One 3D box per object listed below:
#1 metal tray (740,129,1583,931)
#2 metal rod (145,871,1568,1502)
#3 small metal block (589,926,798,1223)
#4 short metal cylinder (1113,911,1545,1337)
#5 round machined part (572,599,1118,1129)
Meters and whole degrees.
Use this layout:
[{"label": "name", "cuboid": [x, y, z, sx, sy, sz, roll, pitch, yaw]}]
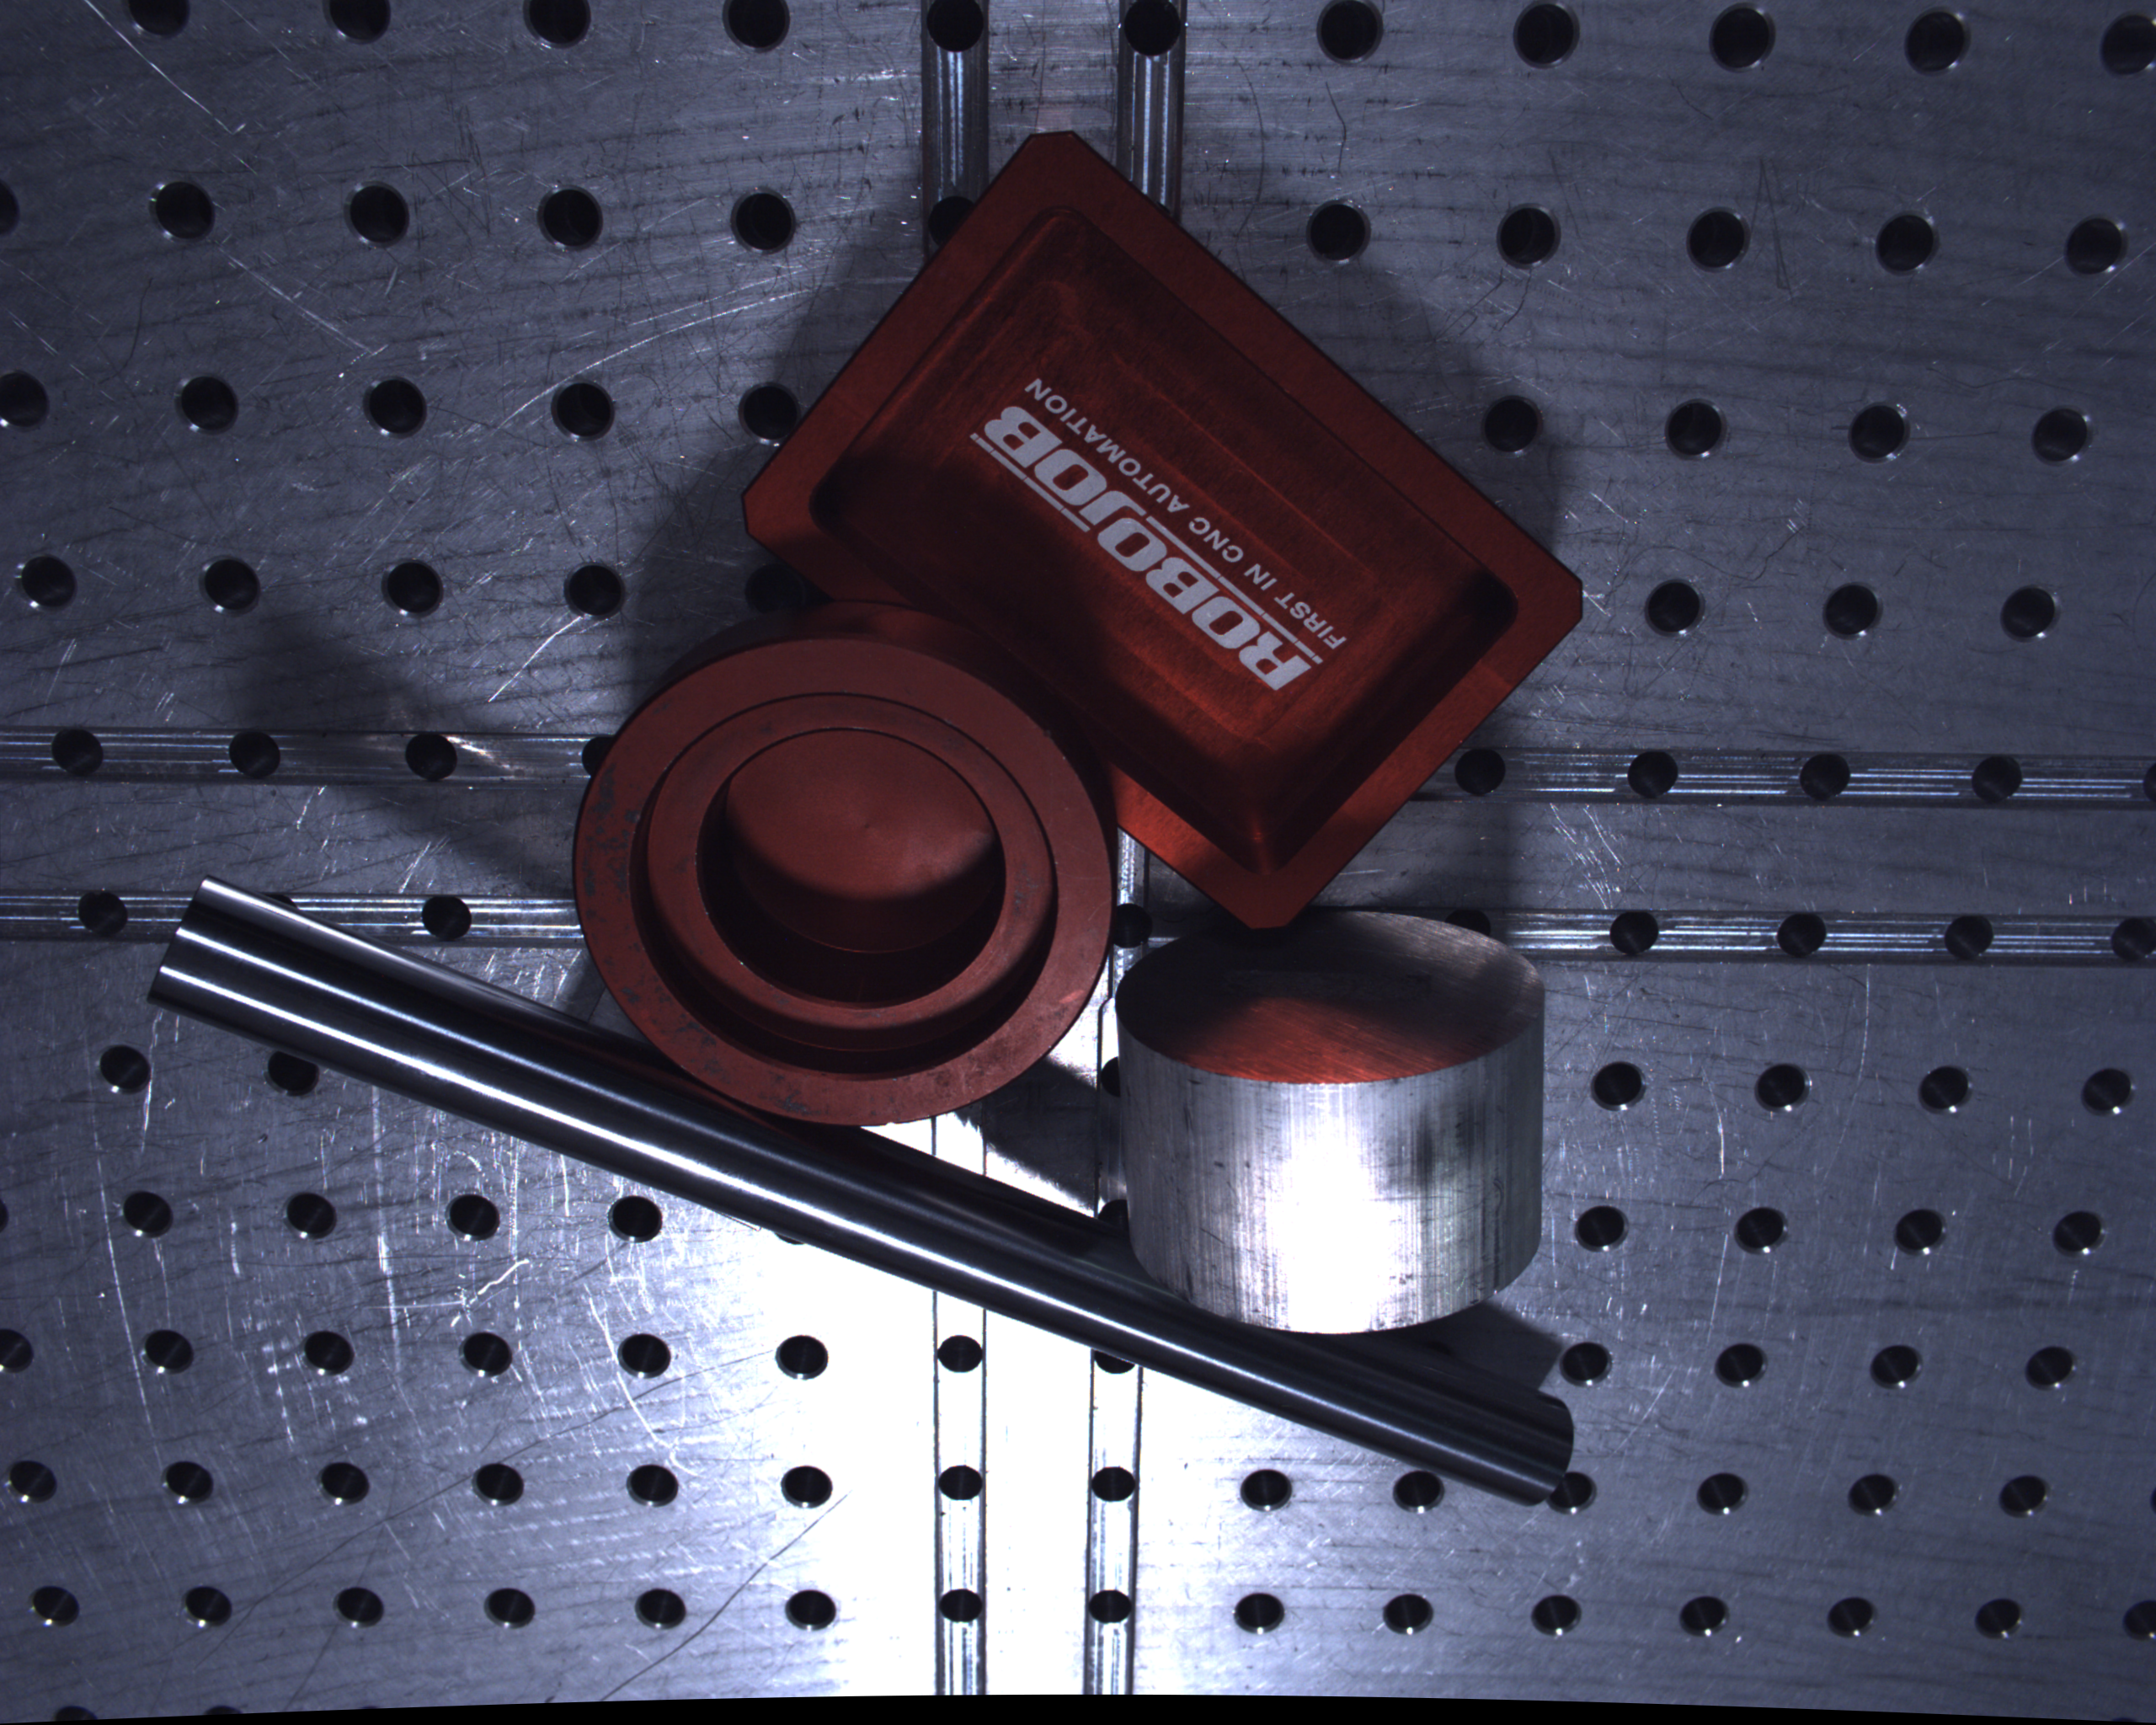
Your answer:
[{"label": "metal tray", "cuboid": [0.016, -0.060, 0.388, 0.130, 0.030, 0.090, 38, 105, -13]}, {"label": "metal rod", "cuboid": [-0.030, 0.072, 0.418, 0.302, 0.025, 0.025, 24, 108, -18]}, {"label": "small metal block", "cuboid": [-0.076, 0.040, 0.427, 0.050, 0.025, 0.050, 27, 108, -10]}, {"label": "short metal cylinder", "cuboid": [0.048, 0.047, 0.401, 0.081, 0.080, 0.050, -4, 110, 1]}, {"label": "round machined part", "cuboid": [-0.041, -0.002, 0.394, 0.099, 0.042, 0.097, 0, 110, 1]}]
